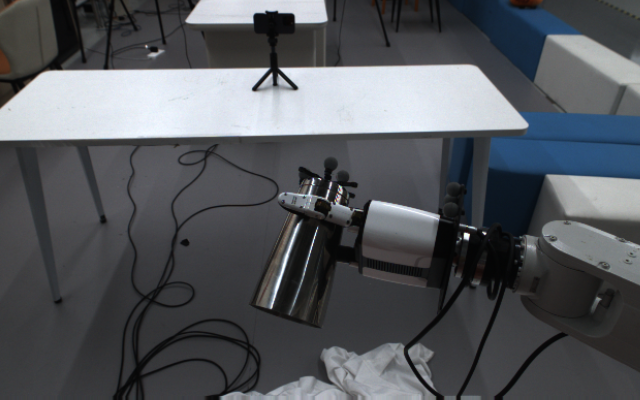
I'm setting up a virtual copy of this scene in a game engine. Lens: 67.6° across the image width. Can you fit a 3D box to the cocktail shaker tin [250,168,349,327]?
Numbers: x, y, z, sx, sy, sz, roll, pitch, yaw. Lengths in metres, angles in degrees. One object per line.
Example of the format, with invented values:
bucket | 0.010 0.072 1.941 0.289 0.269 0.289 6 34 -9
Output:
cocktail shaker tin | -0.016 0.060 0.603 0.093 0.093 0.170 13 71 15
